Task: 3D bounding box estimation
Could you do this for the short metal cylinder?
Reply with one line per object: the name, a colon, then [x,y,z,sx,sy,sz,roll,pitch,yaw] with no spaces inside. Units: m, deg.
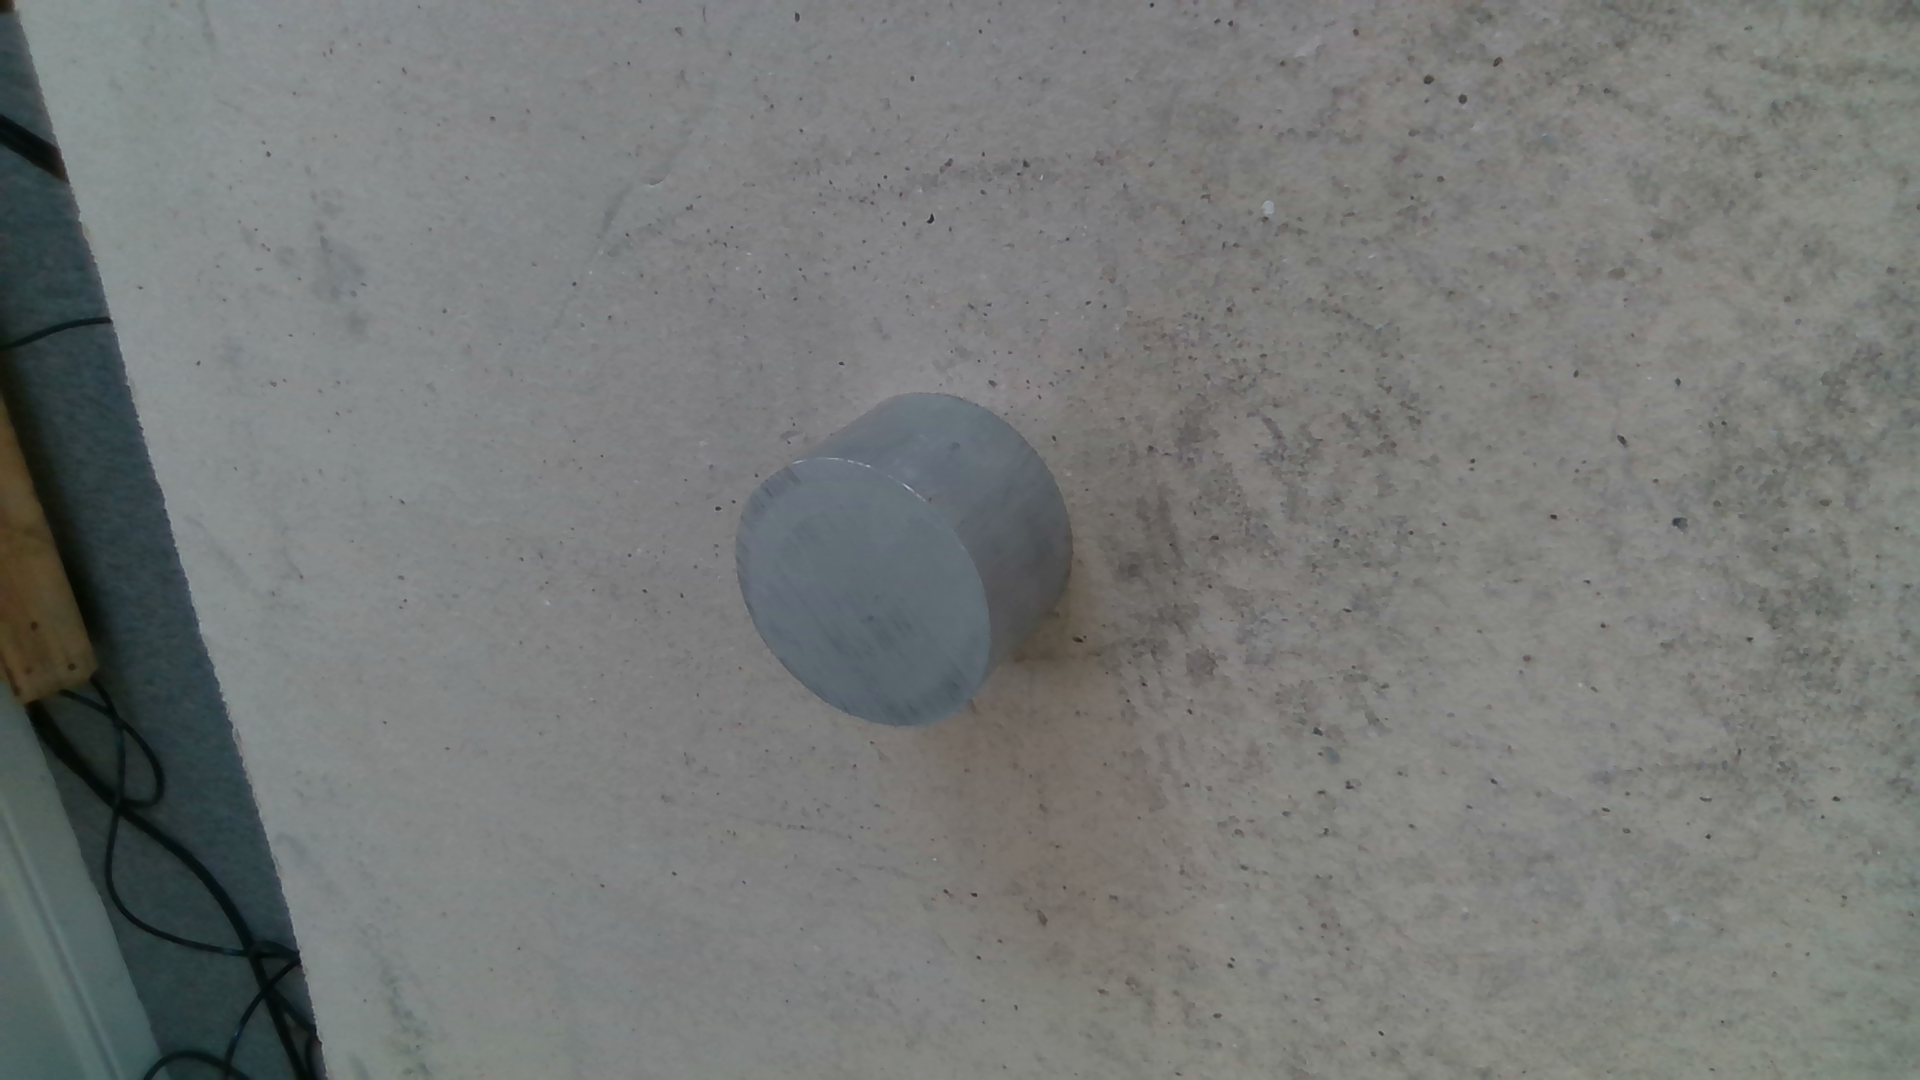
short metal cylinder: [-0.016,0.004,0.384,0.080,0.050,0.080,15,123,24]
